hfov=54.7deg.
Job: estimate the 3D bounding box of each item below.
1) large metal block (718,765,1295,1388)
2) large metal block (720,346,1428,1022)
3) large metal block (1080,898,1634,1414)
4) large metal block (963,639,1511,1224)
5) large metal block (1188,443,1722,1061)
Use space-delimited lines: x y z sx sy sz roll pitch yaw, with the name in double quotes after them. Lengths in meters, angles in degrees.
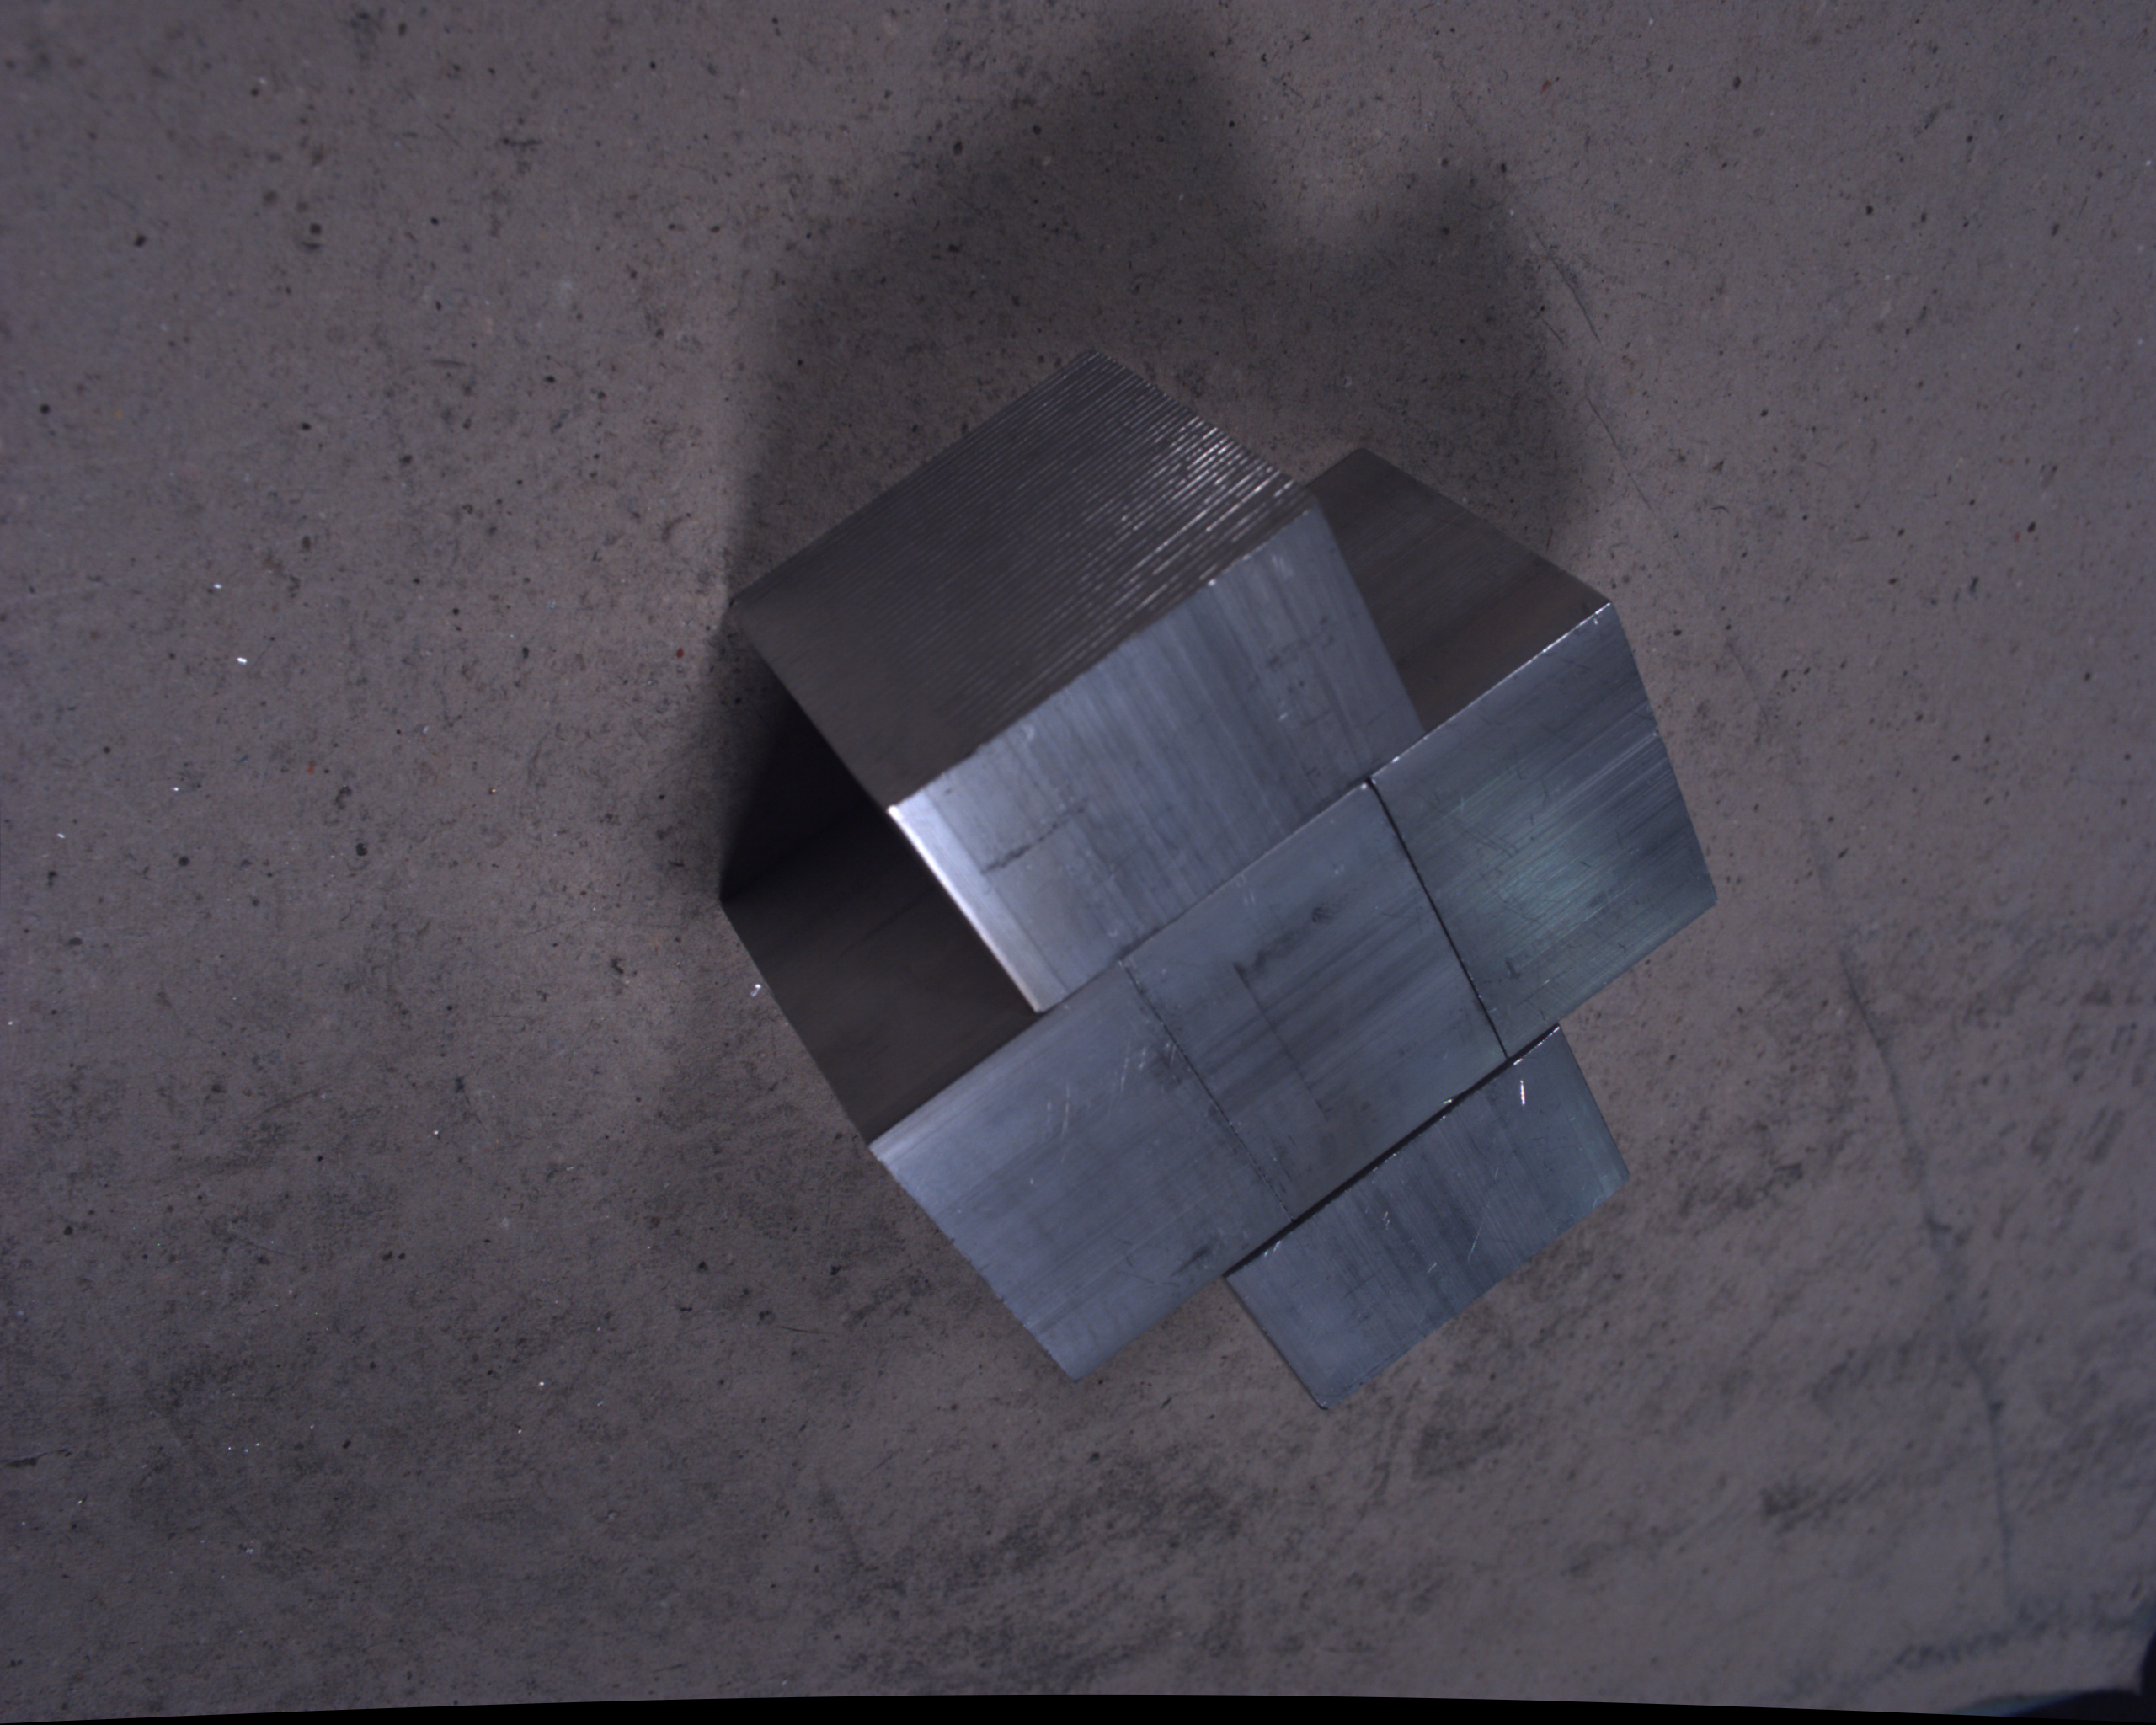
-0.014 0.037 0.390 0.050 0.080 0.080 -37 130 -4 "large metal block"
-0.003 -0.033 0.353 0.080 0.080 0.050 -36 130 -5 "large metal block"
0.054 0.052 0.437 0.080 0.080 0.050 -36 130 -5 "large metal block"
0.027 0.008 0.394 0.050 0.080 0.080 -37 130 -4 "large metal block"
0.068 -0.022 0.399 0.050 0.080 0.080 -37 130 -4 "large metal block"
